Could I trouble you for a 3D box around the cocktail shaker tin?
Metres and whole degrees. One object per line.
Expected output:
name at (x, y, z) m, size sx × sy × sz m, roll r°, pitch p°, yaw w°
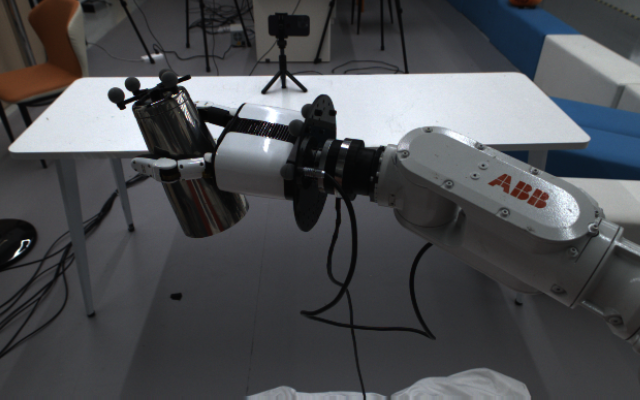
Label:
cocktail shaker tin at (-0.161, -0.047, 0.597) m, size 0.093 × 0.170 × 0.093 m, roll -15°, pitch 29°, yaw 8°
